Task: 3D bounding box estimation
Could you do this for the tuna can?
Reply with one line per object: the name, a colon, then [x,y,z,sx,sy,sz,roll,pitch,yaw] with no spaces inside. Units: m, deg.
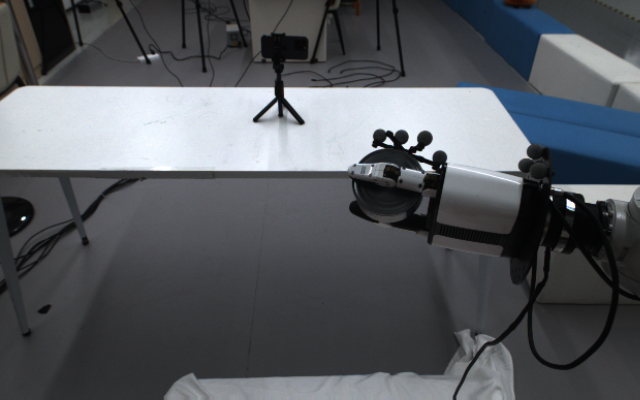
tuna can: [0.084,-0.020,0.583,0.085,0.034,0.085,-4,66,10]
